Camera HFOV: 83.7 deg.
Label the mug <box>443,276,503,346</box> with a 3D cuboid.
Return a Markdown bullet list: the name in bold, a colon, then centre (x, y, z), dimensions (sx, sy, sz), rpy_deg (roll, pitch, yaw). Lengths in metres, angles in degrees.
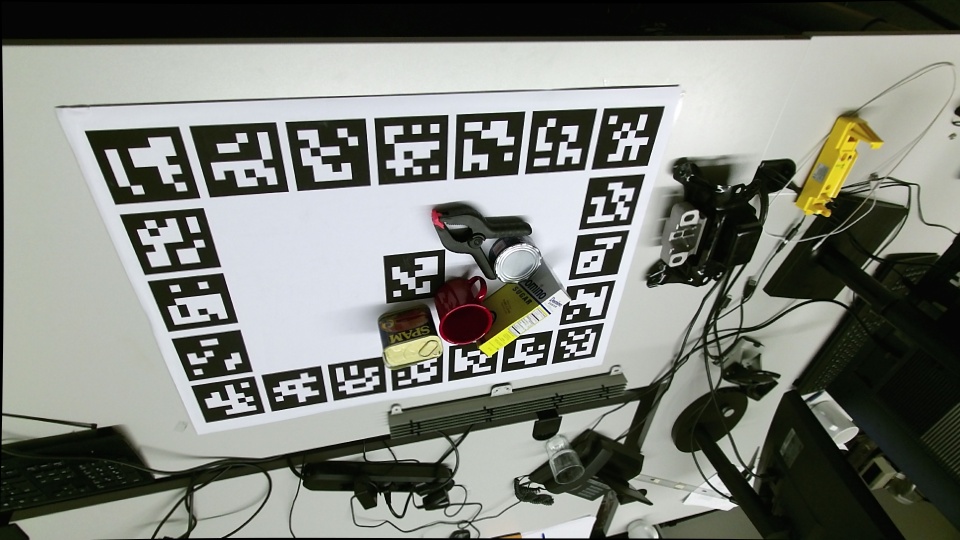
- **mug**: centre (-0.011, 0.059, 0.908), dimensions (0.094, 0.081, 0.117), rpy_deg (16, 116, -27)

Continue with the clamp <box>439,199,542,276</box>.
- **clamp**: centre (0.004, -0.065, 0.863), dimensions (0.166, 0.036, 0.122), rpy_deg (28, 116, -28)

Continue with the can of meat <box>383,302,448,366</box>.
- **can of meat**: centre (-0.112, 0.108, 0.918), dimensions (0.102, 0.083, 0.058), rpy_deg (-13, 129, -8)

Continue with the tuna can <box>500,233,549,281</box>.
- **tuna can**: centre (0.078, -0.025, 0.910), dimensions (0.086, 0.033, 0.086), rpy_deg (-9, 125, -13)

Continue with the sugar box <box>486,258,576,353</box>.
- **sugar box**: centre (0.077, 0.059, 0.941), dimensions (0.177, 0.092, 0.045), rpy_deg (-36, 129, 11)
